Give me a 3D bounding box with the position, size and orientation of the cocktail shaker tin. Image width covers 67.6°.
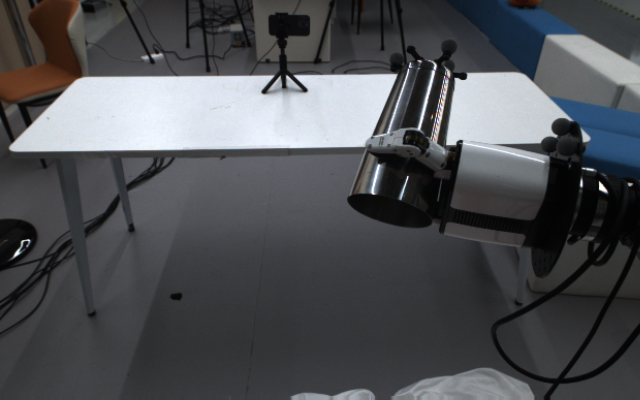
[{"bbox_3d":[0.098,-0.064,0.535,0.093,0.093,0.170,14,72,16],"label":"cocktail shaker tin"}]
